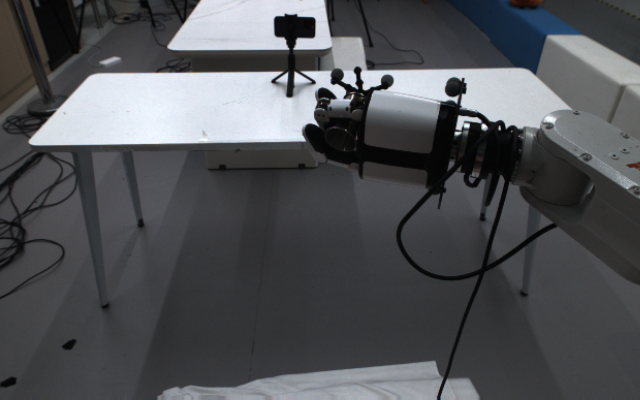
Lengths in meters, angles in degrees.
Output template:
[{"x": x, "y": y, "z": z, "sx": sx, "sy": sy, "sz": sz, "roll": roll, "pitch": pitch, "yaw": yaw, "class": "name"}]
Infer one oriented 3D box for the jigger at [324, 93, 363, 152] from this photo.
[{"x": 0.040, "y": -0.101, "z": 0.624, "sx": 0.043, "sy": 0.043, "sz": 0.071, "roll": 13, "pitch": 58, "yaw": 16, "class": "jigger"}]
